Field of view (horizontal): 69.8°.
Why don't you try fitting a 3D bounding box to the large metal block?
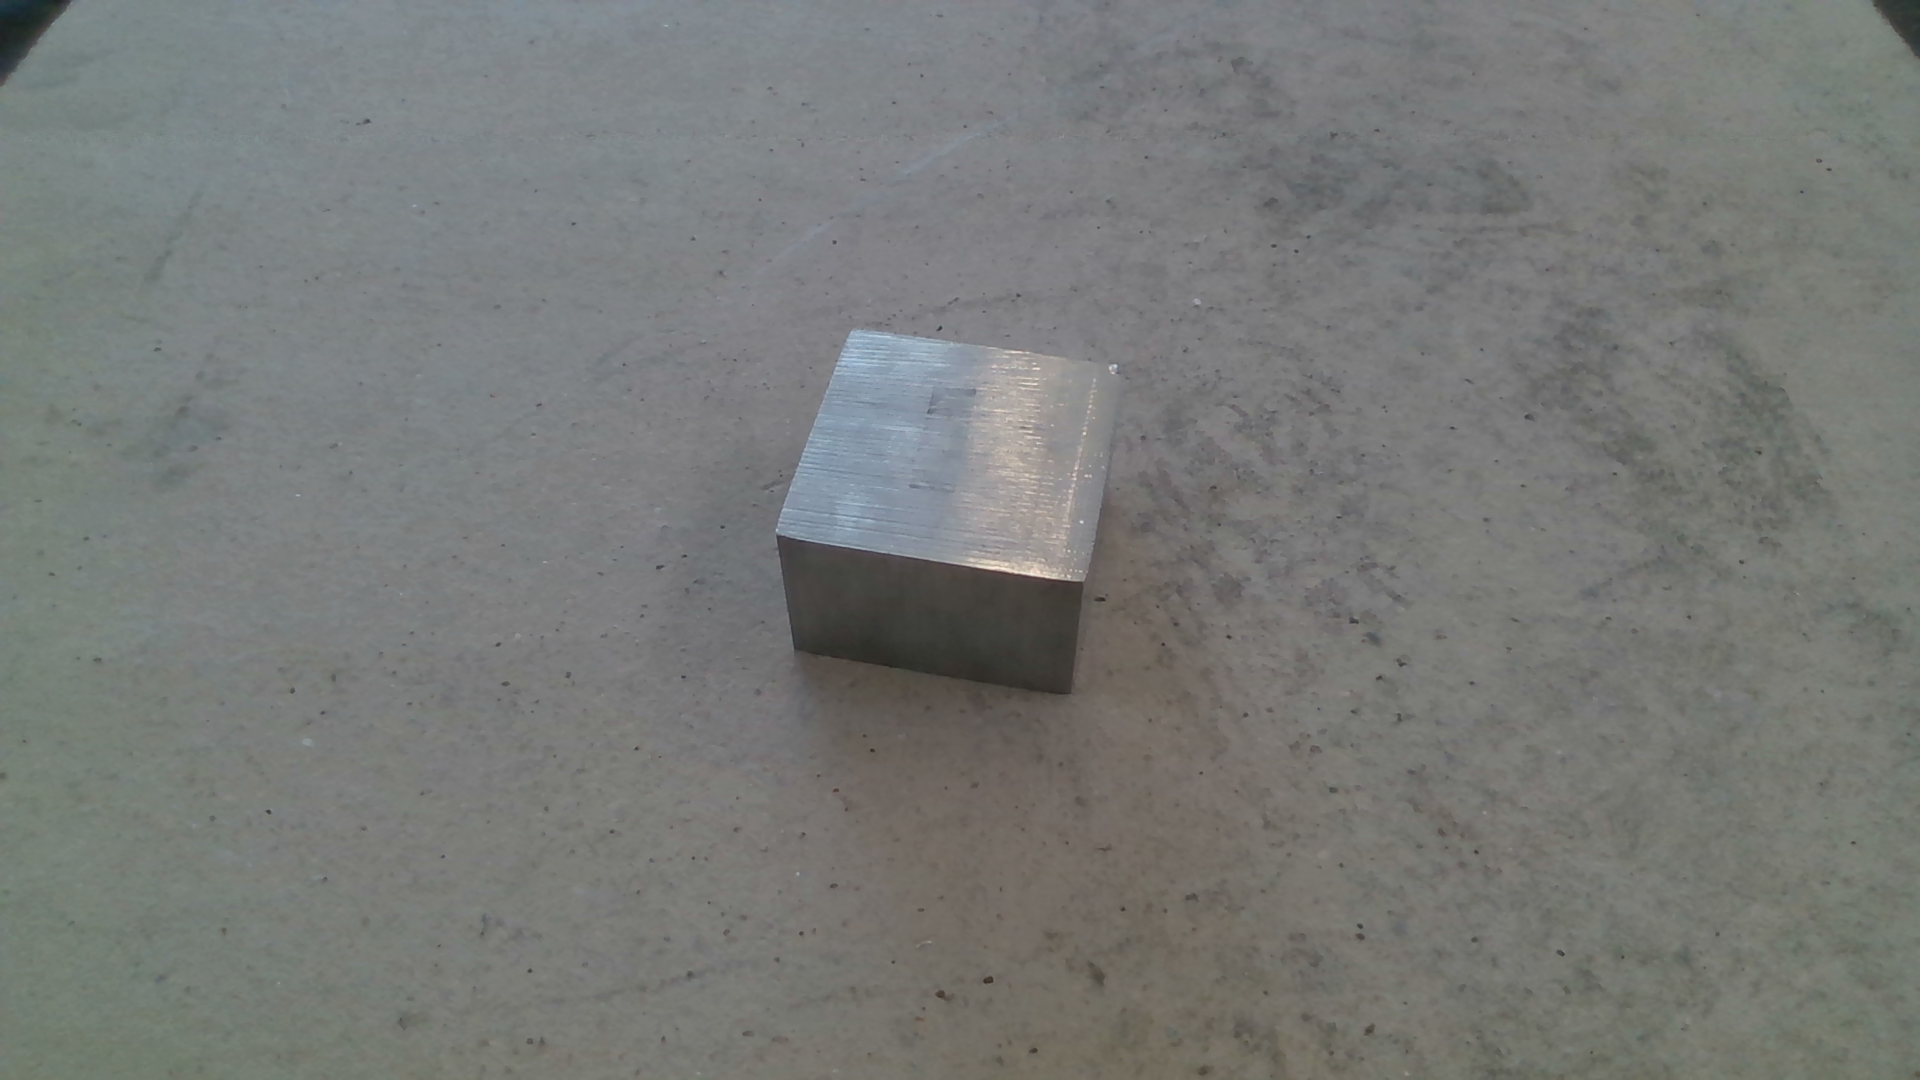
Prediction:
[{"bbox_3d":[-0.001,-0.009,0.386,0.080,0.050,0.080,9,52,7],"label":"large metal block"}]
